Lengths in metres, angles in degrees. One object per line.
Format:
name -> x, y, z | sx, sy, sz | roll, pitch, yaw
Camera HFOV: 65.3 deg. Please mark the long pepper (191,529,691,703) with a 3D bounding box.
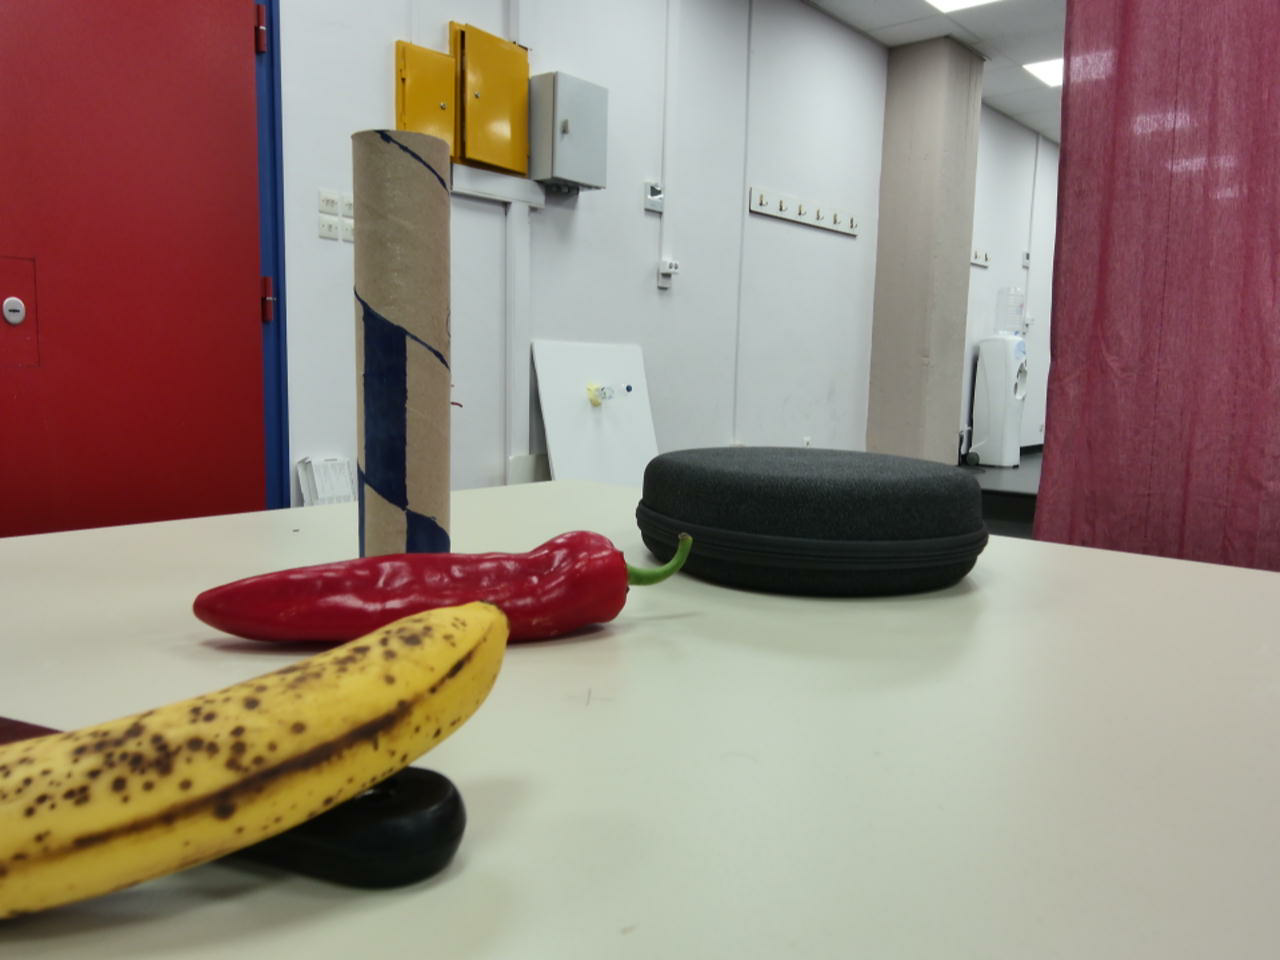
long pepper -> -0.074, 0.046, 0.425 | 0.211, 0.043, 0.050 | -2, 5, -18
